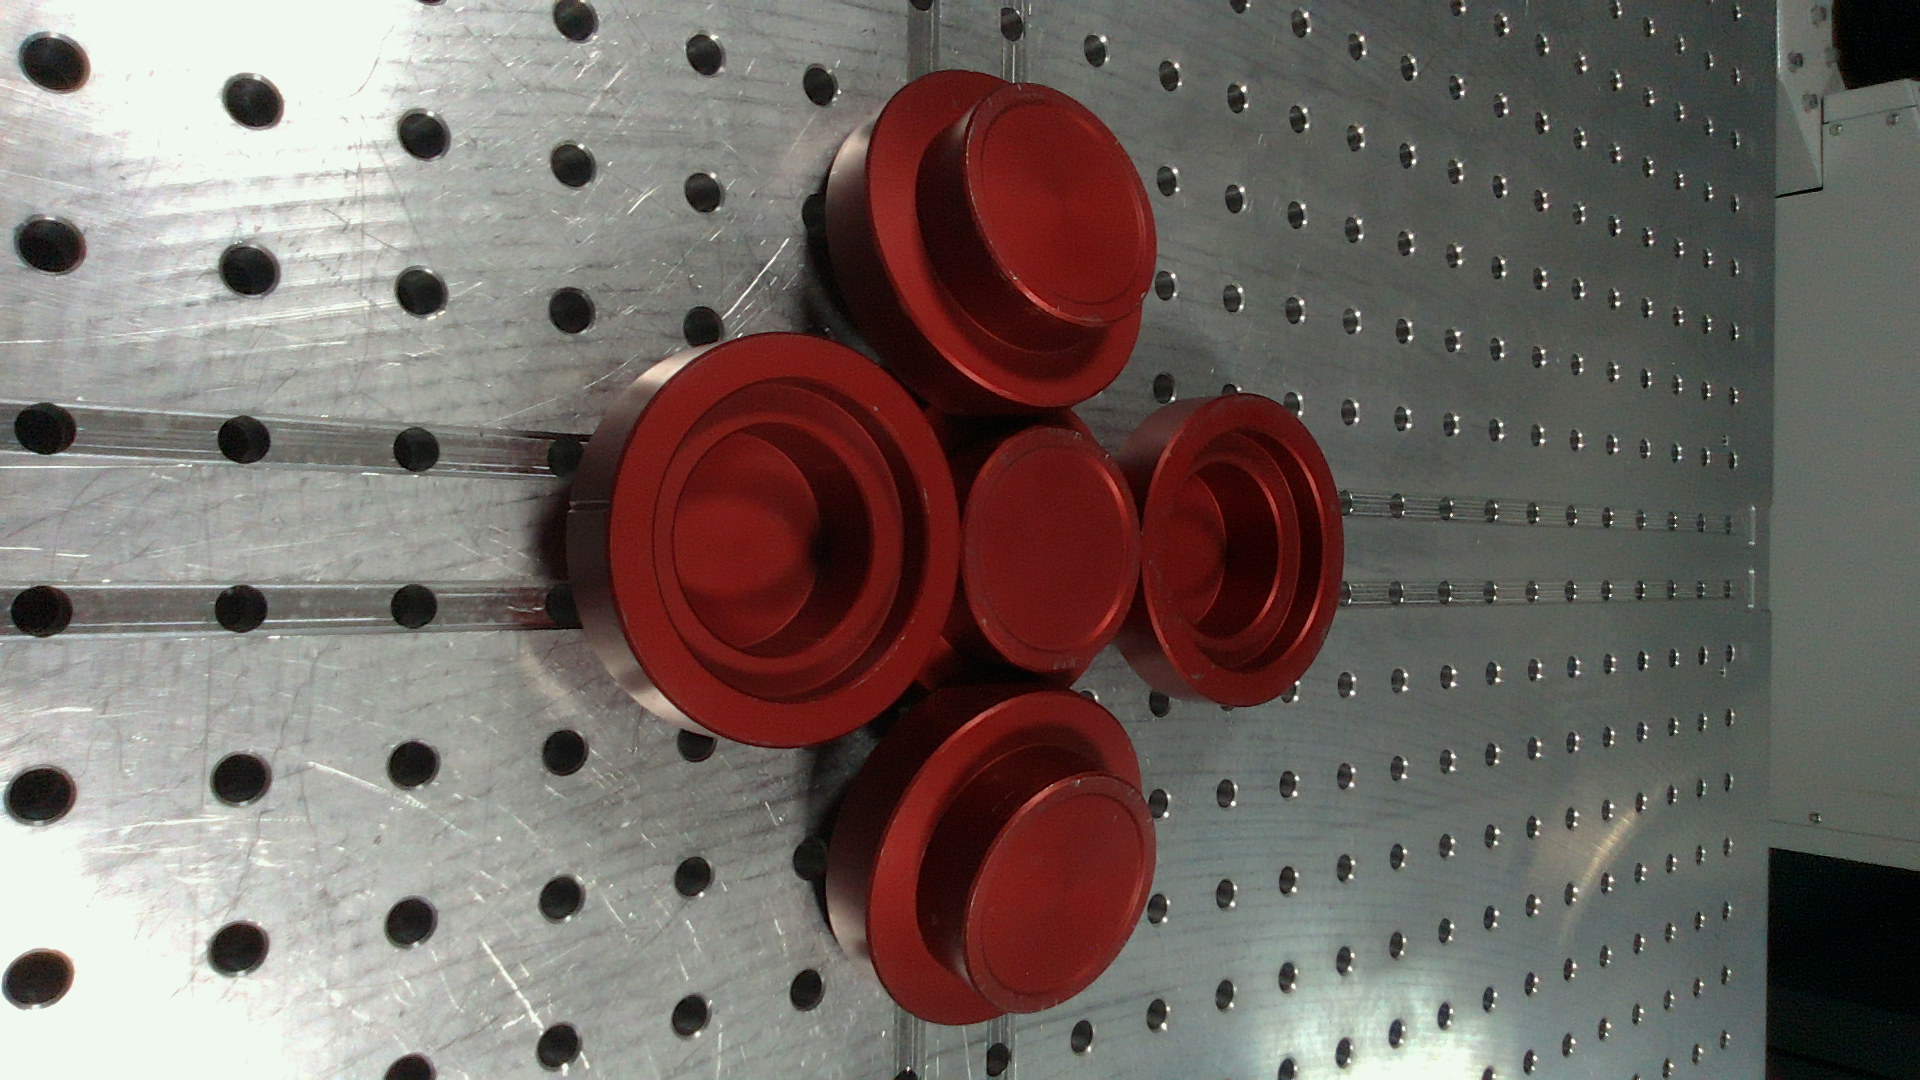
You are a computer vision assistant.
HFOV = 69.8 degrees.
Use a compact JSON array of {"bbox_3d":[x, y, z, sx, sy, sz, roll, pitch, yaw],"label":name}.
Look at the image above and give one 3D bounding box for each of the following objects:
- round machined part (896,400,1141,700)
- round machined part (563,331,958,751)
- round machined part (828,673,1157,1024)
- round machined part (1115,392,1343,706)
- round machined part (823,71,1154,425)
[{"bbox_3d":[0.013,0.002,0.391,0.098,0.042,0.098,0,90,-40],"label":"round machined part"},{"bbox_3d":[-0.051,0.000,0.338,0.098,0.042,0.098,0,90,-40],"label":"round machined part"},{"bbox_3d":[0.016,0.089,0.379,0.098,0.042,0.098,-14,113,-36],"label":"round machined part"},{"bbox_3d":[0.078,0.003,0.445,0.098,0.042,0.098,0,90,-40],"label":"round machined part"},{"bbox_3d":[0.015,-0.084,0.378,0.098,0.042,0.098,13,68,-35],"label":"round machined part"}]
